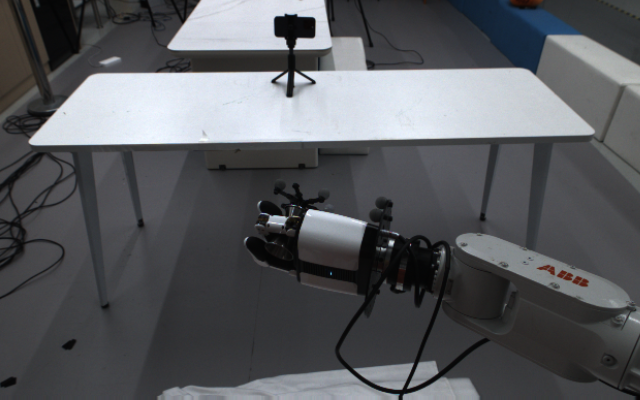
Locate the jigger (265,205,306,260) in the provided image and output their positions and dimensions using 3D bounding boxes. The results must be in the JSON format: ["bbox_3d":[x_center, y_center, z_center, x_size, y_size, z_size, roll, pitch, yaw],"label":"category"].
[{"bbox_3d":[-0.041,0.045,0.678,0.043,0.043,0.071,13,58,16],"label":"jigger"}]
